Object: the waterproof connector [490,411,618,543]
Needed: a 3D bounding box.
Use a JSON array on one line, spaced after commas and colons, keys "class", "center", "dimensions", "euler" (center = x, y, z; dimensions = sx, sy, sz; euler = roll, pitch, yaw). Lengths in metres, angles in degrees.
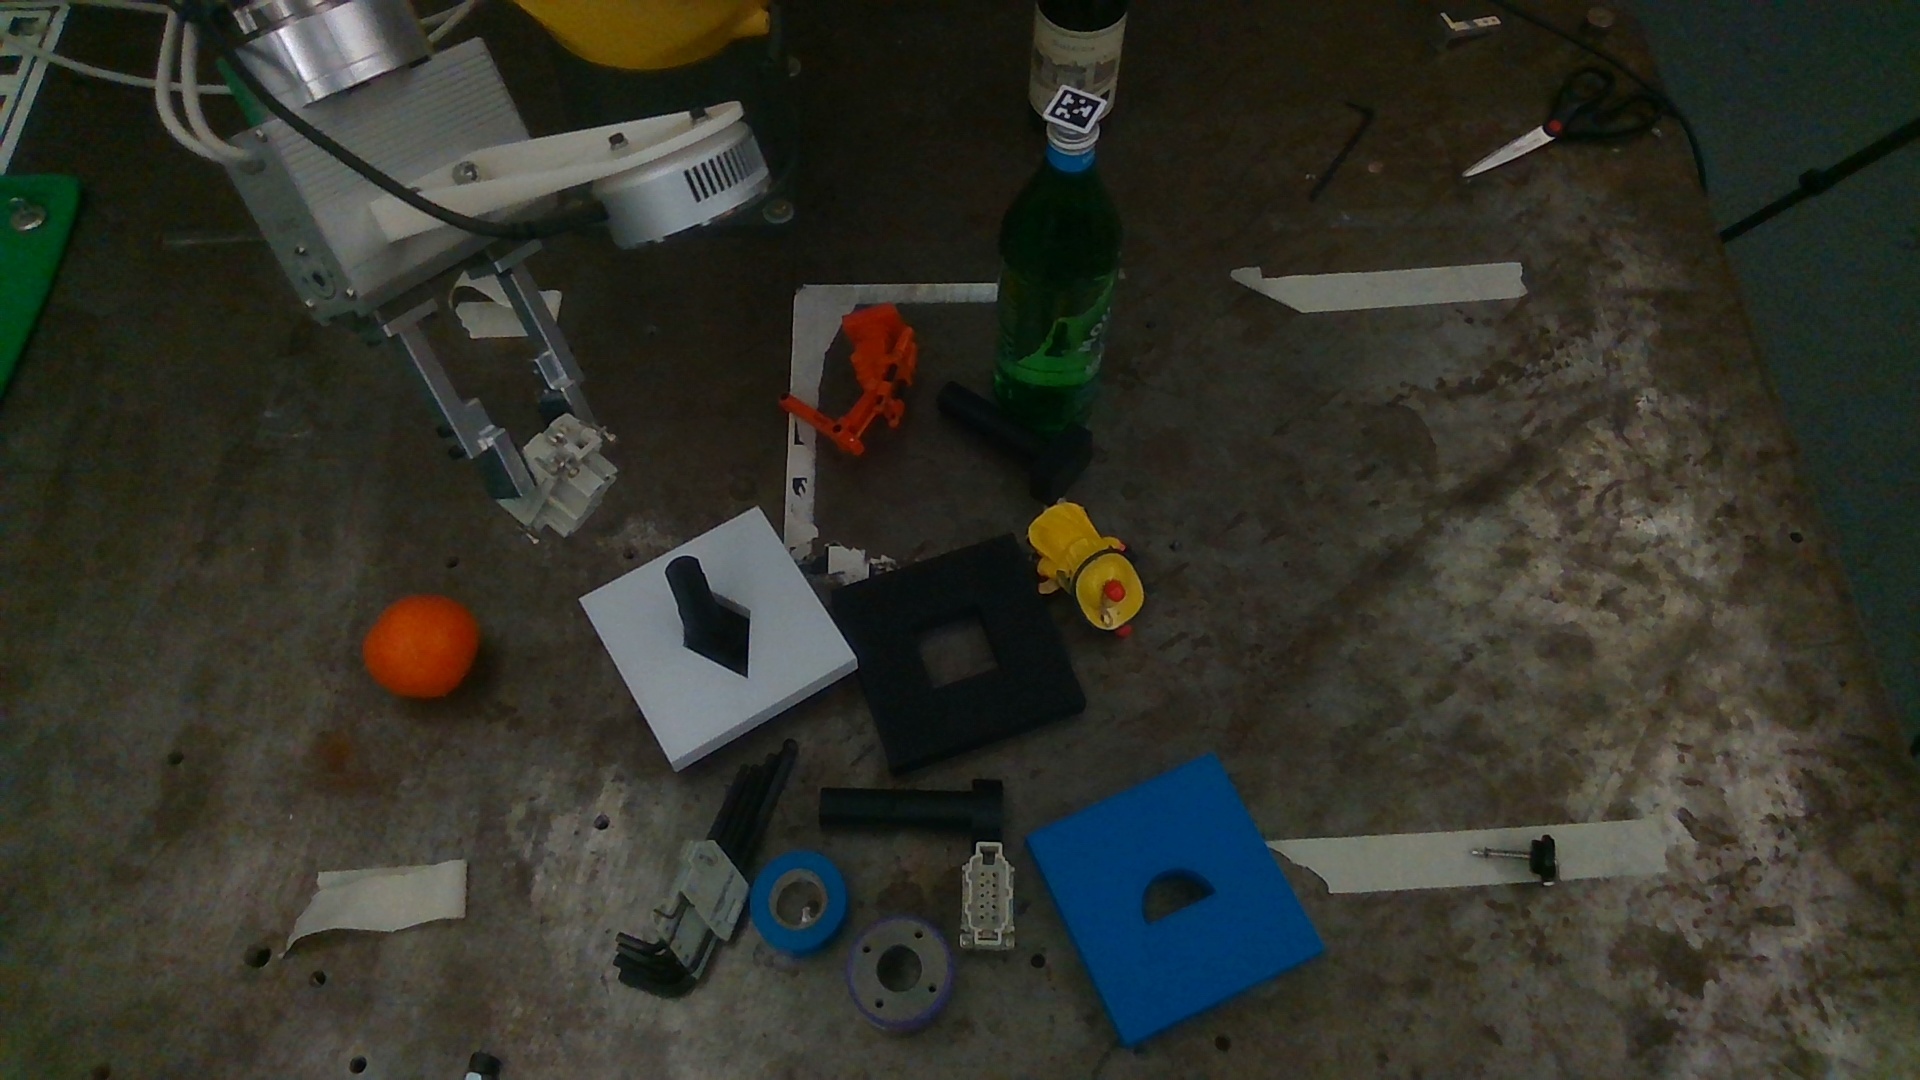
[{"class": "waterproof connector", "center": [-0.185, -0.026, 0.636], "dimensions": [0.038, 0.069, 0.036], "euler": [41, 41, -4]}]
